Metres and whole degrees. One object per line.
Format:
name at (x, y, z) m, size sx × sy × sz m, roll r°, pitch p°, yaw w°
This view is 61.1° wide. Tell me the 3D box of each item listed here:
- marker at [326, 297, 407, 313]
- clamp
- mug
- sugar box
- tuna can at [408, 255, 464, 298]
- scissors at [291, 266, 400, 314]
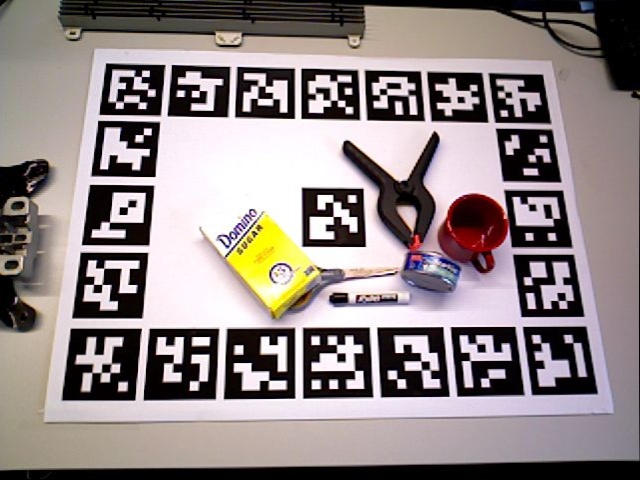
marker at (0.069, 0.097, 0.809) m, size 0.120 × 0.020 × 0.019 m, roll -3°, pitch 73°, yaw -4°
clamp at (0.137, -0.071, 0.866) m, size 0.164 × 0.037 × 0.202 m, roll -9°, pitch 75°, yaw -7°
mug at (0.230, 0.007, 0.816) m, size 0.092 × 0.083 × 0.117 m, roll -26°, pitch 72°, yaw -12°
sugar box at (-0.082, 0.027, 0.802) m, size 0.092 × 0.046 × 0.176 m, roll -35°, pitch 72°, yaw -14°
tuna can at (0.172, 0.055, 0.793) m, size 0.085 × 0.087 × 0.033 m, roll 17°, pitch 71°, yaw 2°
scissors at (0.023, 0.056, 0.816) m, size 0.201 × 0.016 × 0.087 m, roll -9°, pitch 70°, yaw -8°
